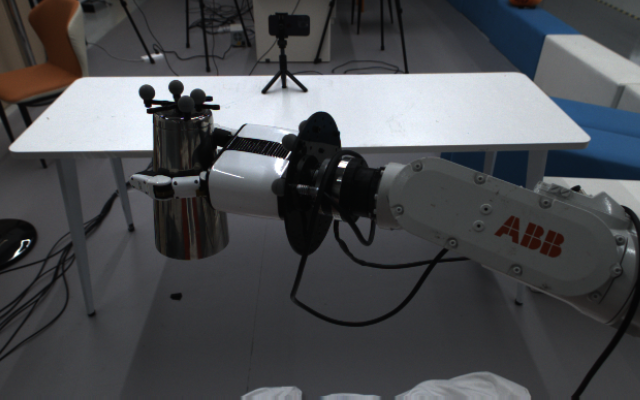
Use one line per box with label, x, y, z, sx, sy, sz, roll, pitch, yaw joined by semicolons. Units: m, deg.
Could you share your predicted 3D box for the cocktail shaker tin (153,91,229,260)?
cocktail shaker tin;-0.159;-0.023;0.585;0.093;0.170;0.093;2;25;-1
